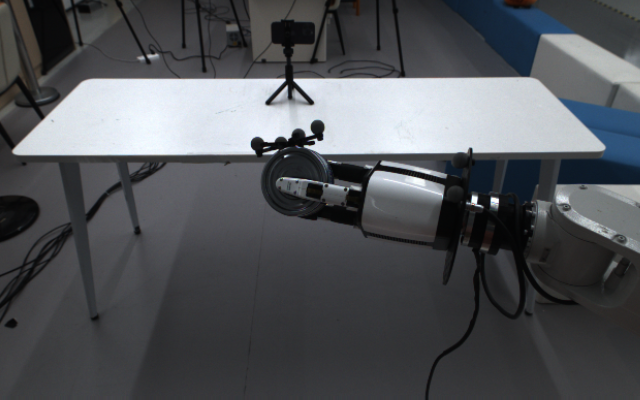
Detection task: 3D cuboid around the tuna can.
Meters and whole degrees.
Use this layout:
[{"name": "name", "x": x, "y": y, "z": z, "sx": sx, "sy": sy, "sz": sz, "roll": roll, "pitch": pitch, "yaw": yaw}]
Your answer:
[{"name": "tuna can", "x": -0.023, "y": -0.017, "z": 0.589, "sx": 0.085, "sy": 0.085, "sz": 0.034, "roll": 12, "pitch": 3, "yaw": 14}]
